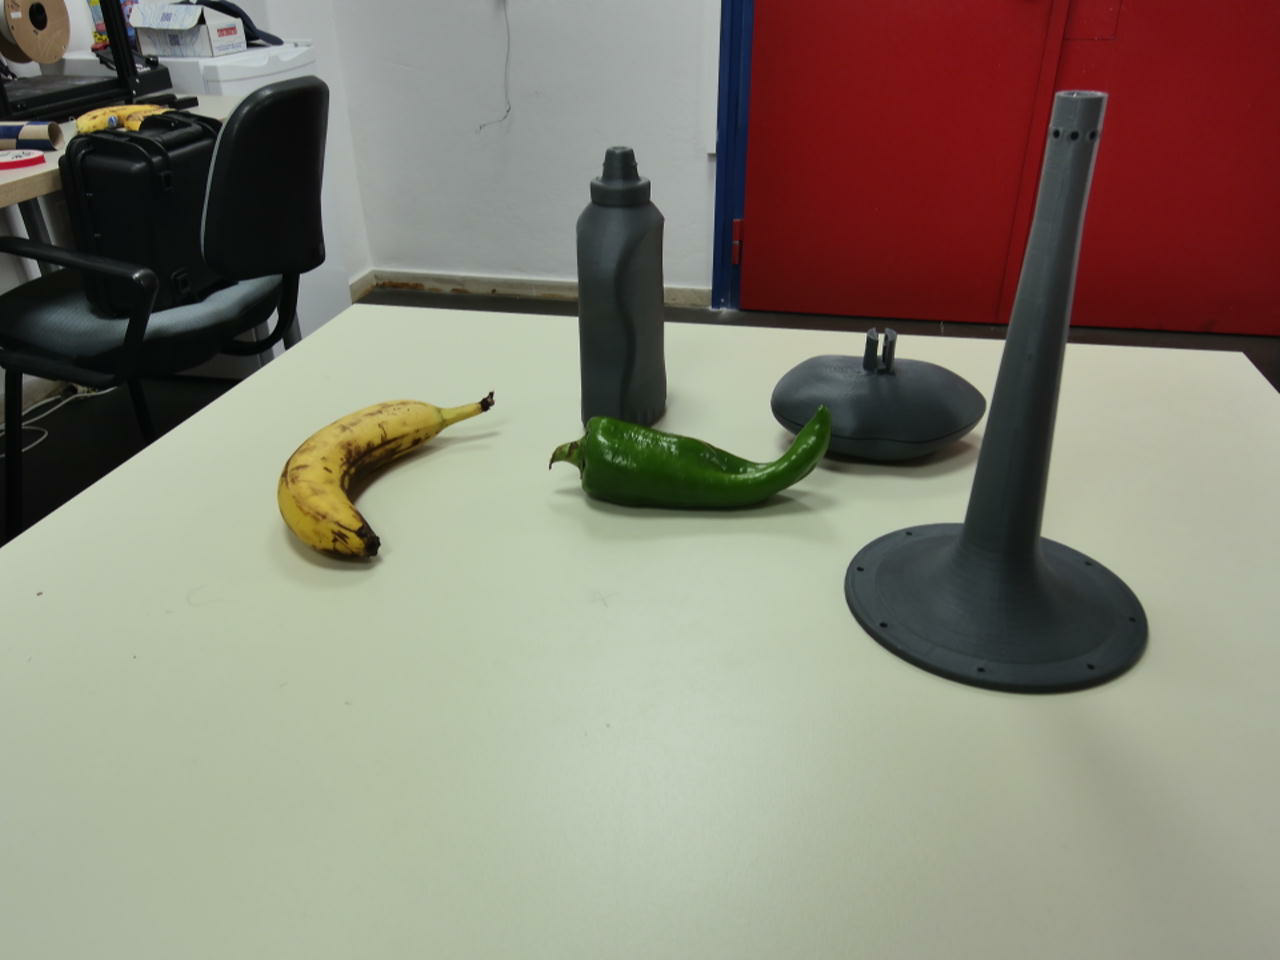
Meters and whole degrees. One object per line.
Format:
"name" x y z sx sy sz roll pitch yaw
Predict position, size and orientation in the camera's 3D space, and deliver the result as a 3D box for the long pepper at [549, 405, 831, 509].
"long pepper" 0.029 -0.017 0.620 0.175 0.065 0.058 4 27 9
